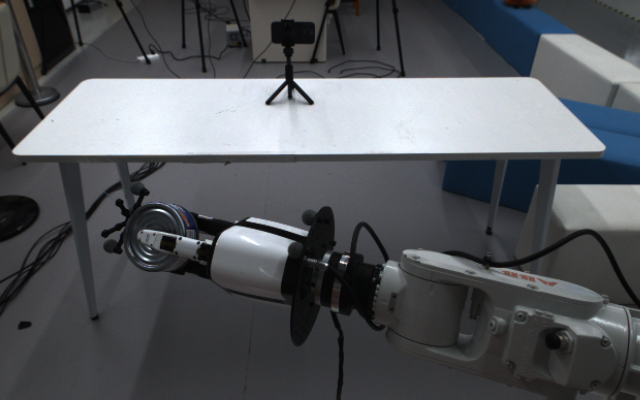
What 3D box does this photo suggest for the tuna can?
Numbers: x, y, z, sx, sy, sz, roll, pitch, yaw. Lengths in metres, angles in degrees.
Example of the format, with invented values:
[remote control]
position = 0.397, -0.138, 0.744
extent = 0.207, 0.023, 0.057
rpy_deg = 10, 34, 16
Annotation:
[tuna can]
position = -0.192, 0.045, 0.590
extent = 0.085, 0.085, 0.034
rpy_deg = 12, -3, 14
